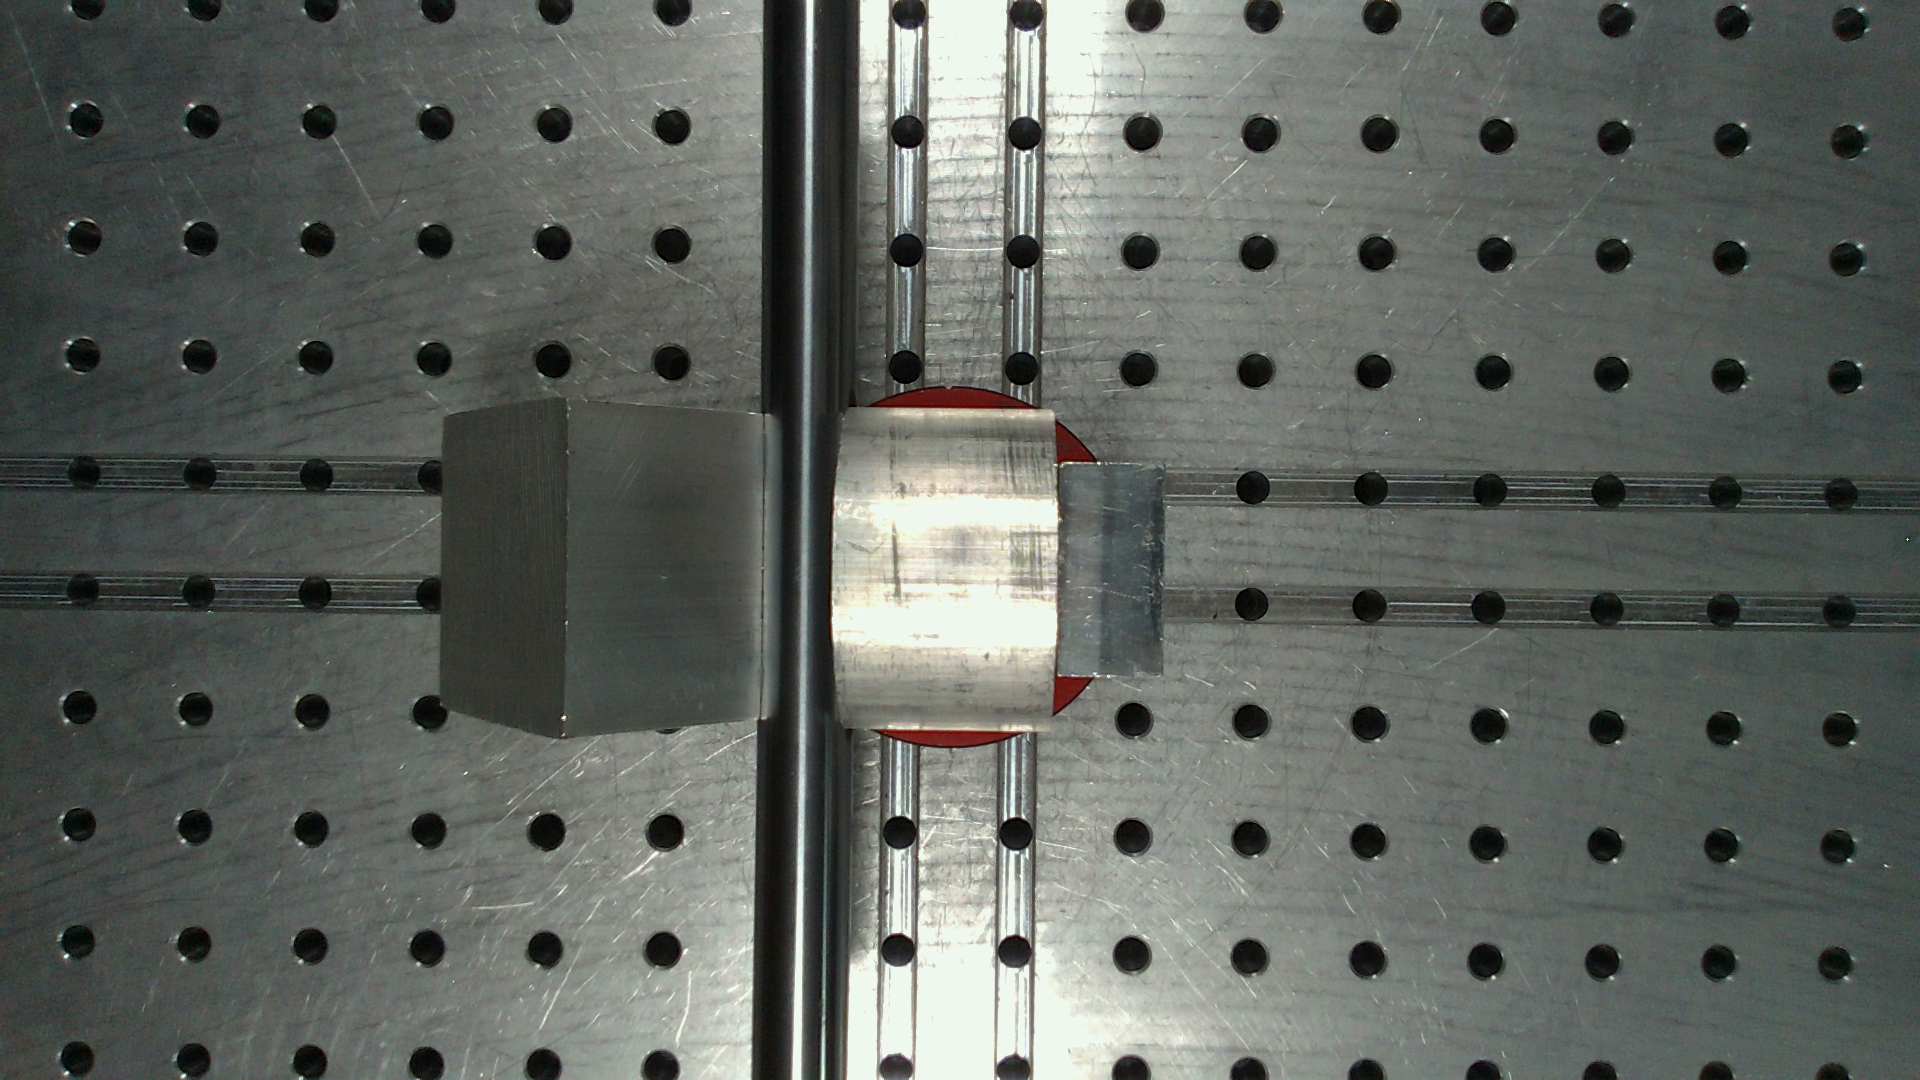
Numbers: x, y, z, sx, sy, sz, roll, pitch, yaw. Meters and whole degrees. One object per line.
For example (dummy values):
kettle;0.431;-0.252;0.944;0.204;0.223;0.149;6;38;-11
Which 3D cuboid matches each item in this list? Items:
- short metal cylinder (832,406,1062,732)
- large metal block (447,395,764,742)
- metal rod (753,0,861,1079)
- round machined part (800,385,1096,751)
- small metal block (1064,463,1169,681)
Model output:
short metal cylinder;-0.003;0.007;0.340;0.050;0.080;0.080;1;90;0
large metal block;-0.095;0.006;0.364;0.050;0.080;0.080;1;90;-41
metal rod;-0.040;-0.001;0.356;0.025;0.025;0.300;1;90;0
round machined part;-0.002;0.007;0.388;0.098;0.042;0.098;0;90;0
small metal block;0.035;0.007;0.343;0.025;0.050;0.050;1;90;0
